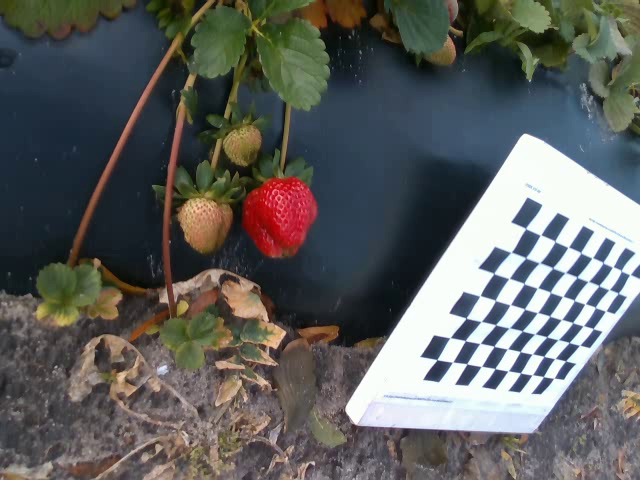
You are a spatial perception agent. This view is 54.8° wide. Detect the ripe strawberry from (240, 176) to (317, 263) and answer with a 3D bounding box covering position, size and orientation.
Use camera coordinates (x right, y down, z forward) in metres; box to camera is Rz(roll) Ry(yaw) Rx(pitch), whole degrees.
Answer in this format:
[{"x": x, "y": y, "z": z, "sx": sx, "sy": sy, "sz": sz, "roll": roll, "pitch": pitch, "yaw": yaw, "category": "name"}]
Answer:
[{"x": -0.021, "y": -0.013, "z": 0.406, "sx": 0.067, "sy": 0.074, "sz": 0.053, "roll": -4, "pitch": 33, "yaw": -32, "category": "ripe strawberry"}]
